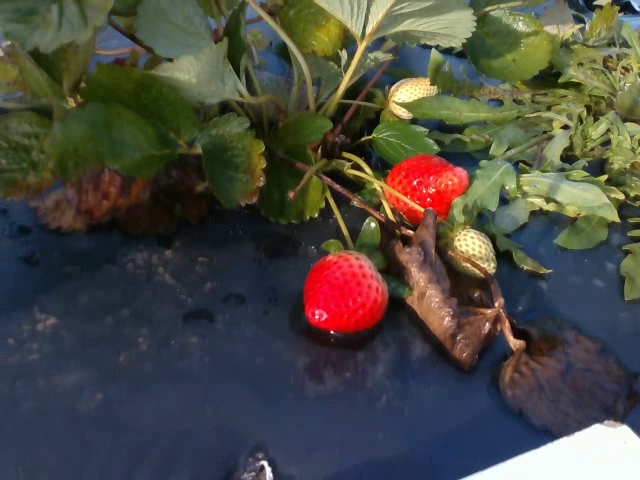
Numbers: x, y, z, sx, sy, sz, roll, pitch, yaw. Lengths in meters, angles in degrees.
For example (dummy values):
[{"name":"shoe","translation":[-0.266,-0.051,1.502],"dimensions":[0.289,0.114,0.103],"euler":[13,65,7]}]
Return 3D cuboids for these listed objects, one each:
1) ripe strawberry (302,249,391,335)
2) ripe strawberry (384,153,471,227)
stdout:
[{"name":"ripe strawberry","translation":[0.007,0.020,0.231],"dimensions":[0.035,0.030,0.043],"euler":[19,36,22]},{"name":"ripe strawberry","translation":[0.052,-0.029,0.292],"dimensions":[0.039,0.032,0.048],"euler":[-24,2,-30]}]
